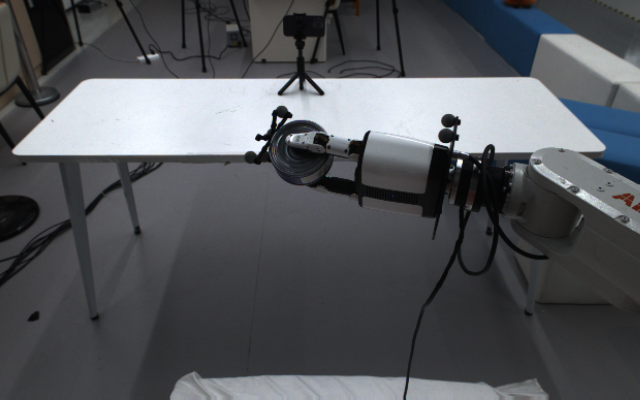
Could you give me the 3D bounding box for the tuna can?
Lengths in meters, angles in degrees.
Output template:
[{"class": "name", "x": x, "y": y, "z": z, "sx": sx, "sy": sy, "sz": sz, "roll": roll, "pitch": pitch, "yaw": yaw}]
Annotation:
[{"class": "tuna can", "x": -0.022, "y": -0.062, "z": 0.656, "sx": 0.085, "sy": 0.034, "sz": 0.085, "roll": -2, "pitch": 72, "yaw": 5}]
